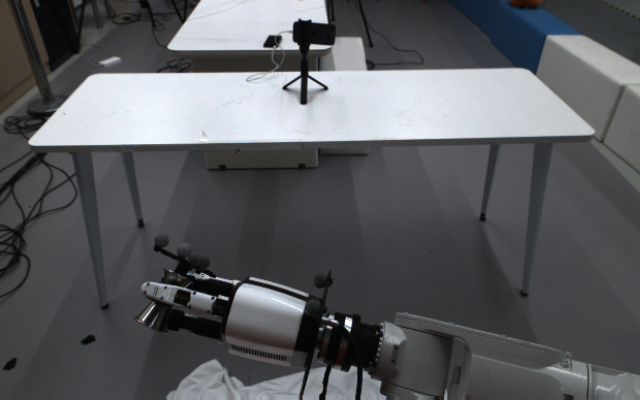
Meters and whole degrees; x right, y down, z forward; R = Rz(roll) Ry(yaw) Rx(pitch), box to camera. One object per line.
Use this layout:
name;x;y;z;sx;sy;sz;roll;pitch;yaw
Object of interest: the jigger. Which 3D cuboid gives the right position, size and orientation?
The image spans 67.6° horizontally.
jigger;-0.189;0.120;0.588;0.043;0.043;0.071;20;73;24
